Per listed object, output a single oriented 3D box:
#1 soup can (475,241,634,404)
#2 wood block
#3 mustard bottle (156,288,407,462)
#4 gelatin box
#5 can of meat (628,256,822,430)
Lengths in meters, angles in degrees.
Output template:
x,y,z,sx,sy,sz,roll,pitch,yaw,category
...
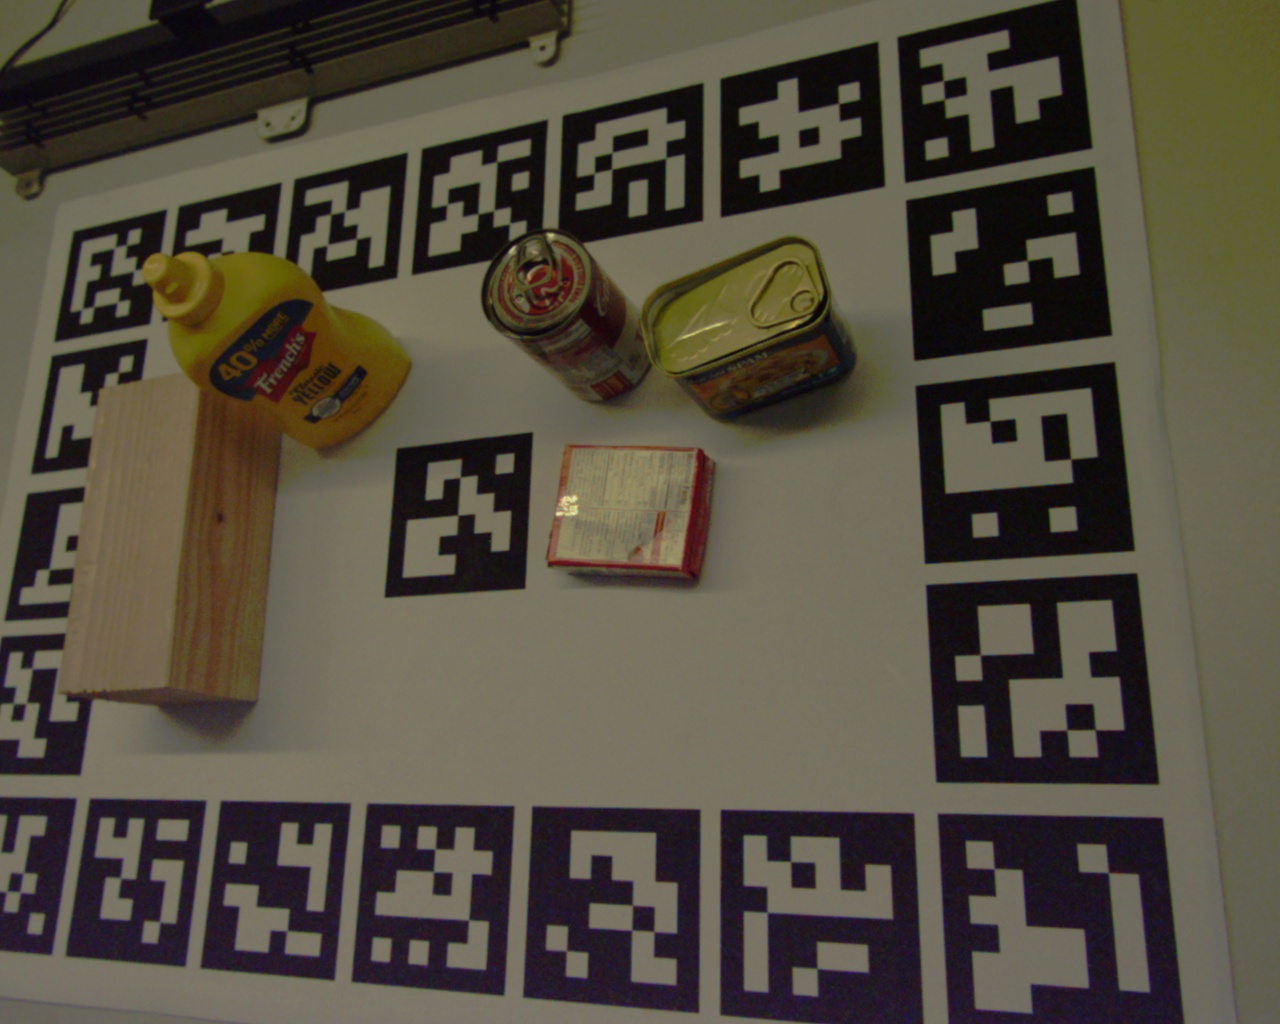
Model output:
x,y,z,sx,sy,sz,roll,pitch,yaw,category
-0.046,-0.112,0.696,0.068,0.101,0.068,-6,75,22,soup can
-0.314,0.028,0.787,0.092,0.089,0.206,-5,70,20,wood block
-0.239,-0.095,0.738,0.096,0.189,0.059,-31,66,10,mustard bottle
-0.012,0.009,0.692,0.090,0.030,0.073,4,79,26,gelatin box
0.052,-0.095,0.670,0.102,0.083,0.058,-19,70,14,can of meat
